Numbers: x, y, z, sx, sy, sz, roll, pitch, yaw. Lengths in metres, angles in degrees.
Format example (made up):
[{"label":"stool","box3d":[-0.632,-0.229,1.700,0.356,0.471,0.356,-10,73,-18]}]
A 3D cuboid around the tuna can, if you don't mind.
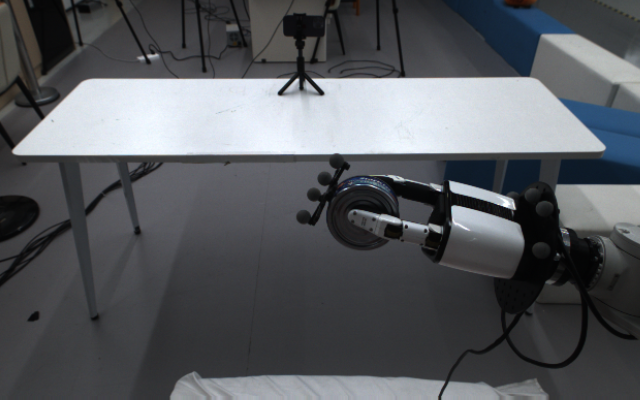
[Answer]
[{"label":"tuna can","box3d":[0.054,0.013,0.573,0.085,0.085,0.034,3,20,1]}]
